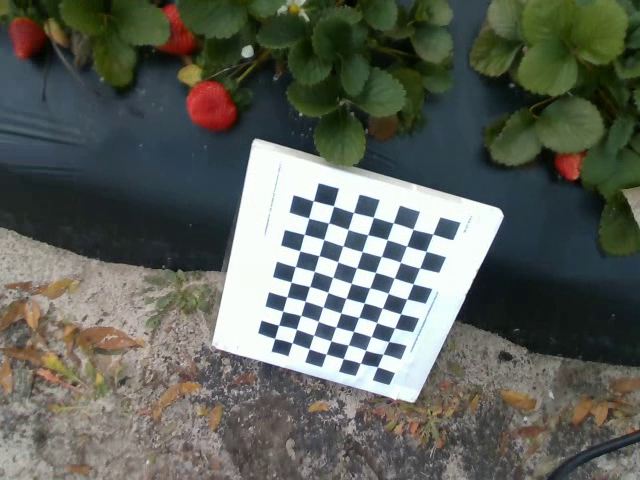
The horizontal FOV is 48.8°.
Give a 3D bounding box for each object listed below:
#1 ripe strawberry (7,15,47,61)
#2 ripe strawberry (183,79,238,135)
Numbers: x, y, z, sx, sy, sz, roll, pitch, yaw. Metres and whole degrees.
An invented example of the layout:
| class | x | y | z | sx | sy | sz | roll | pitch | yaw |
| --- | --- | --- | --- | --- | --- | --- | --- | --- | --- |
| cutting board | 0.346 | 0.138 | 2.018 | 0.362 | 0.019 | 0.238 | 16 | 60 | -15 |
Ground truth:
| class | x | y | z | sx | sy | sz | roll | pitch | yaw |
| --- | --- | --- | --- | --- | --- | --- | --- | --- | --- |
| ripe strawberry | -0.307 | -0.213 | 0.758 | 0.044 | 0.051 | 0.041 | 2 | -14 | 12 |
| ripe strawberry | -0.122 | -0.140 | 0.761 | 0.057 | 0.056 | 0.065 | -10 | 32 | 34 |
